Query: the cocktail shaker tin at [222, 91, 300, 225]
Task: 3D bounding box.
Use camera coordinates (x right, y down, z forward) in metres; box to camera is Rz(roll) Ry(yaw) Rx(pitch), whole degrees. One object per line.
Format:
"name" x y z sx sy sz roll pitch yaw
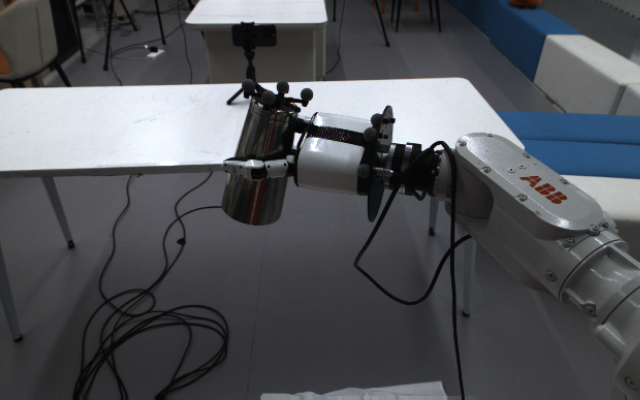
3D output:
"cocktail shaker tin" -0.080 -0.061 0.690 0.093 0.170 0.093 12 29 -7
